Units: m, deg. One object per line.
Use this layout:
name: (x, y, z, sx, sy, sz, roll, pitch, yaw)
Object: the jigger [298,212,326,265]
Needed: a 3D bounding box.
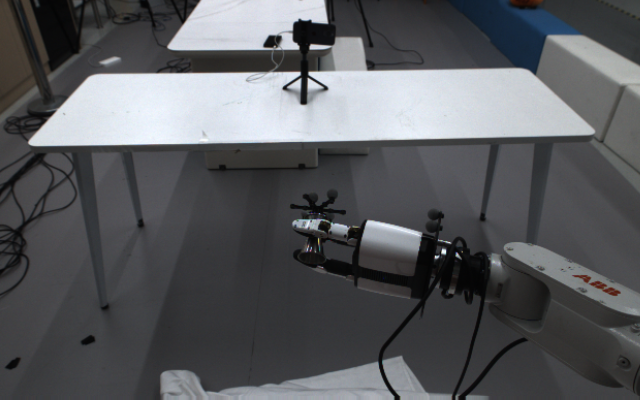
jigger: (-0.012, 0.057, 0.744, 0.043, 0.043, 0.071, 6, 61, 5)
